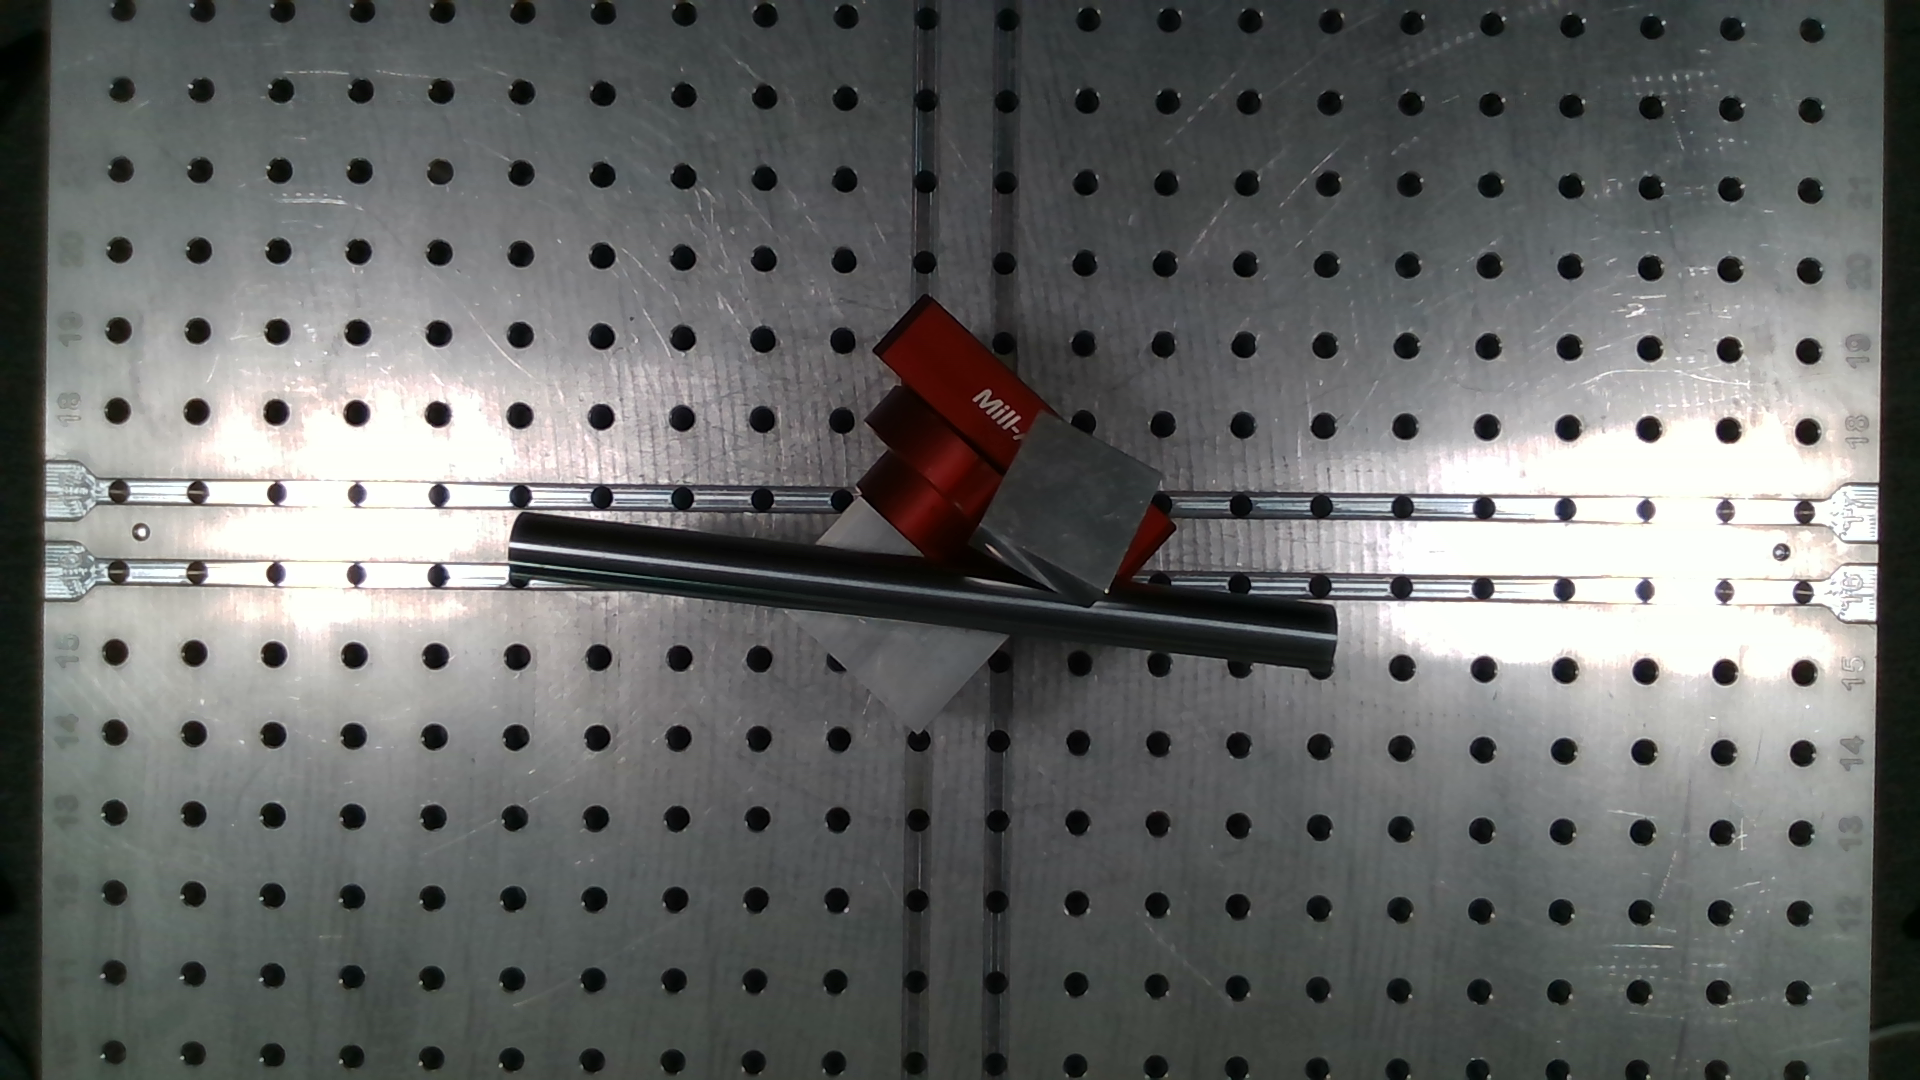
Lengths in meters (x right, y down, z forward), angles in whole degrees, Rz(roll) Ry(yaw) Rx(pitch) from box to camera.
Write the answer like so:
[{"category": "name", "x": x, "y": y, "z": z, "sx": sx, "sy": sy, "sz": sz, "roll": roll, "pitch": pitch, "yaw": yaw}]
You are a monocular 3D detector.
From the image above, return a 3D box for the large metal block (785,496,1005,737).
[{"category": "large metal block", "x": -0.029, "y": 0.029, "z": 0.559, "sx": 0.080, "sy": 0.080, "sz": 0.050, "roll": 43, "pitch": 90, "yaw": 0}]

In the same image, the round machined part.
[{"category": "round machined part", "x": -0.002, "y": -0.016, "z": 0.557, "sx": 0.098, "sy": 0.098, "sz": 0.042, "roll": 42, "pitch": 90, "yaw": 0}]

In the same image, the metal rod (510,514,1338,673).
[{"category": "metal rod", "x": -0.013, "y": 0.020, "z": 0.509, "sx": 0.300, "sy": 0.025, "sz": 0.025, "roll": 7, "pitch": 90, "yaw": 0}]

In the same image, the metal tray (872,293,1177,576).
[{"category": "metal tray", "x": 0.024, "y": -0.038, "z": 0.556, "sx": 0.130, "sy": 0.090, "sz": 0.030, "roll": 43, "pitch": 90, "yaw": 0}]

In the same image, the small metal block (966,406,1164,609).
[{"category": "small metal block", "x": 0.037, "y": -0.011, "z": 0.492, "sx": 0.050, "sy": 0.025, "sz": 0.050, "roll": 28, "pitch": 71, "yaw": -2}]
